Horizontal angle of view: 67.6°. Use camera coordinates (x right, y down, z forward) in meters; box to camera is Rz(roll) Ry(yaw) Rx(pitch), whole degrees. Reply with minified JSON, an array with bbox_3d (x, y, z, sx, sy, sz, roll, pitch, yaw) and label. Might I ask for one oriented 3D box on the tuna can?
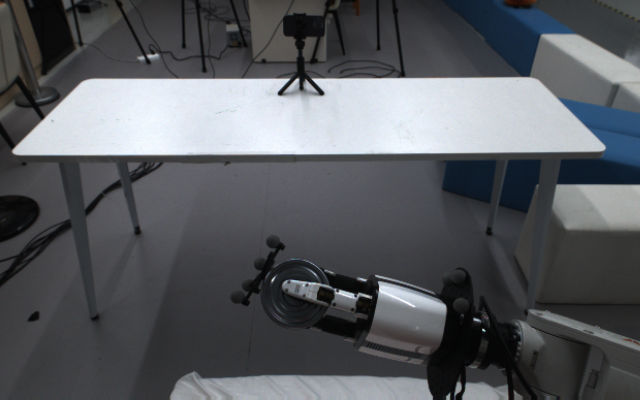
[{"bbox_3d":[-0.026,0.119,0.591,0.085,0.034,0.085,1,76,-5],"label":"tuna can"}]
